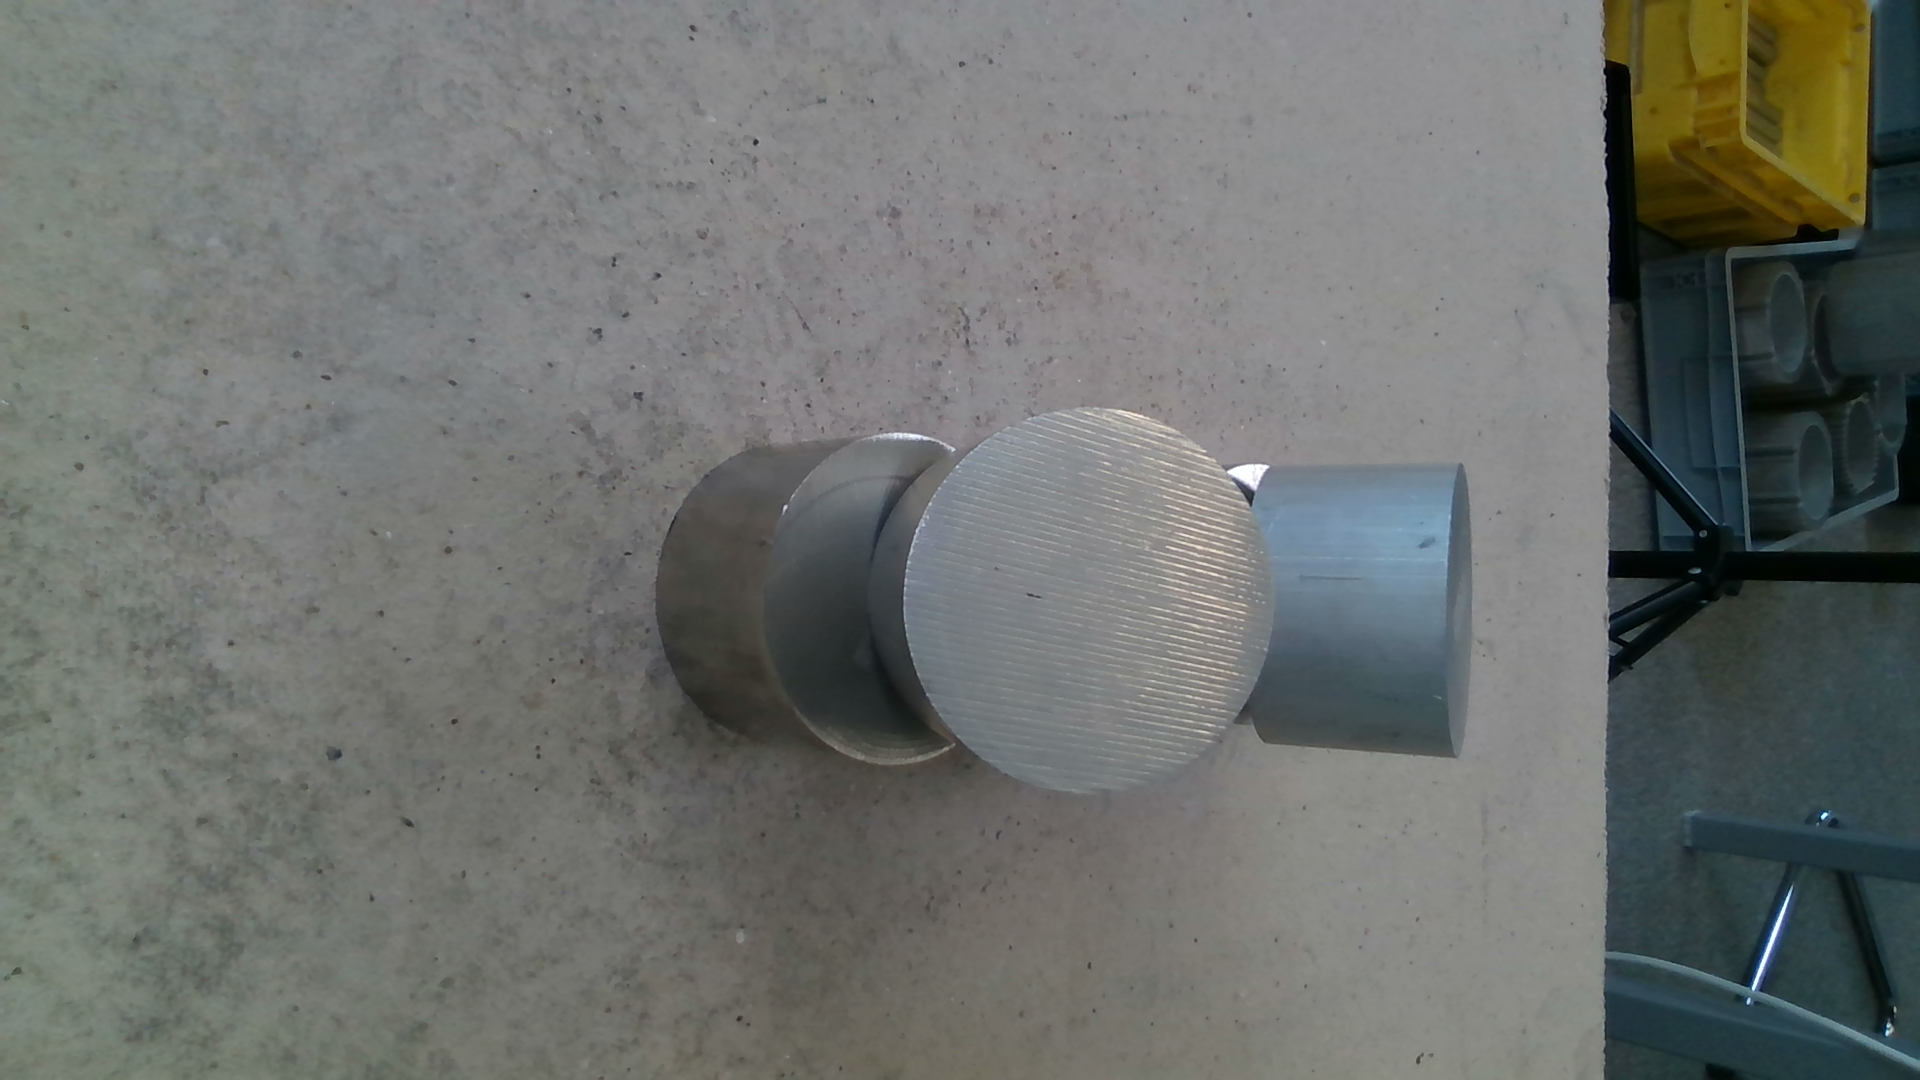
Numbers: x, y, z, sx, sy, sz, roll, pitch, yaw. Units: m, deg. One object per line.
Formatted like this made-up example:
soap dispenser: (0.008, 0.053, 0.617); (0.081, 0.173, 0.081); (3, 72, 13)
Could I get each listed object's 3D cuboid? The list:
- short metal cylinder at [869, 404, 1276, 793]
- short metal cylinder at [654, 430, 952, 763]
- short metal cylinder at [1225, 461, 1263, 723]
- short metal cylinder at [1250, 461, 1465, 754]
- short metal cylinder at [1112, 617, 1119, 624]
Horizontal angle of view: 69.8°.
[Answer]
short metal cylinder: (0.023, 0.013, 0.308); (0.080, 0.050, 0.080); (0, 89, -12)
short metal cylinder: (-0.030, 0.014, 0.350); (0.080, 0.050, 0.080); (0, 90, -40)
short metal cylinder: (0.074, 0.016, 0.438); (0.080, 0.050, 0.080); (0, 90, -40)
short metal cylinder: (0.113, 0.018, 0.386); (0.080, 0.050, 0.080); (1, 90, -66)
short metal cylinder: (0.033, 0.015, 0.385); (0.050, 0.080, 0.080); (2, 89, -40)
